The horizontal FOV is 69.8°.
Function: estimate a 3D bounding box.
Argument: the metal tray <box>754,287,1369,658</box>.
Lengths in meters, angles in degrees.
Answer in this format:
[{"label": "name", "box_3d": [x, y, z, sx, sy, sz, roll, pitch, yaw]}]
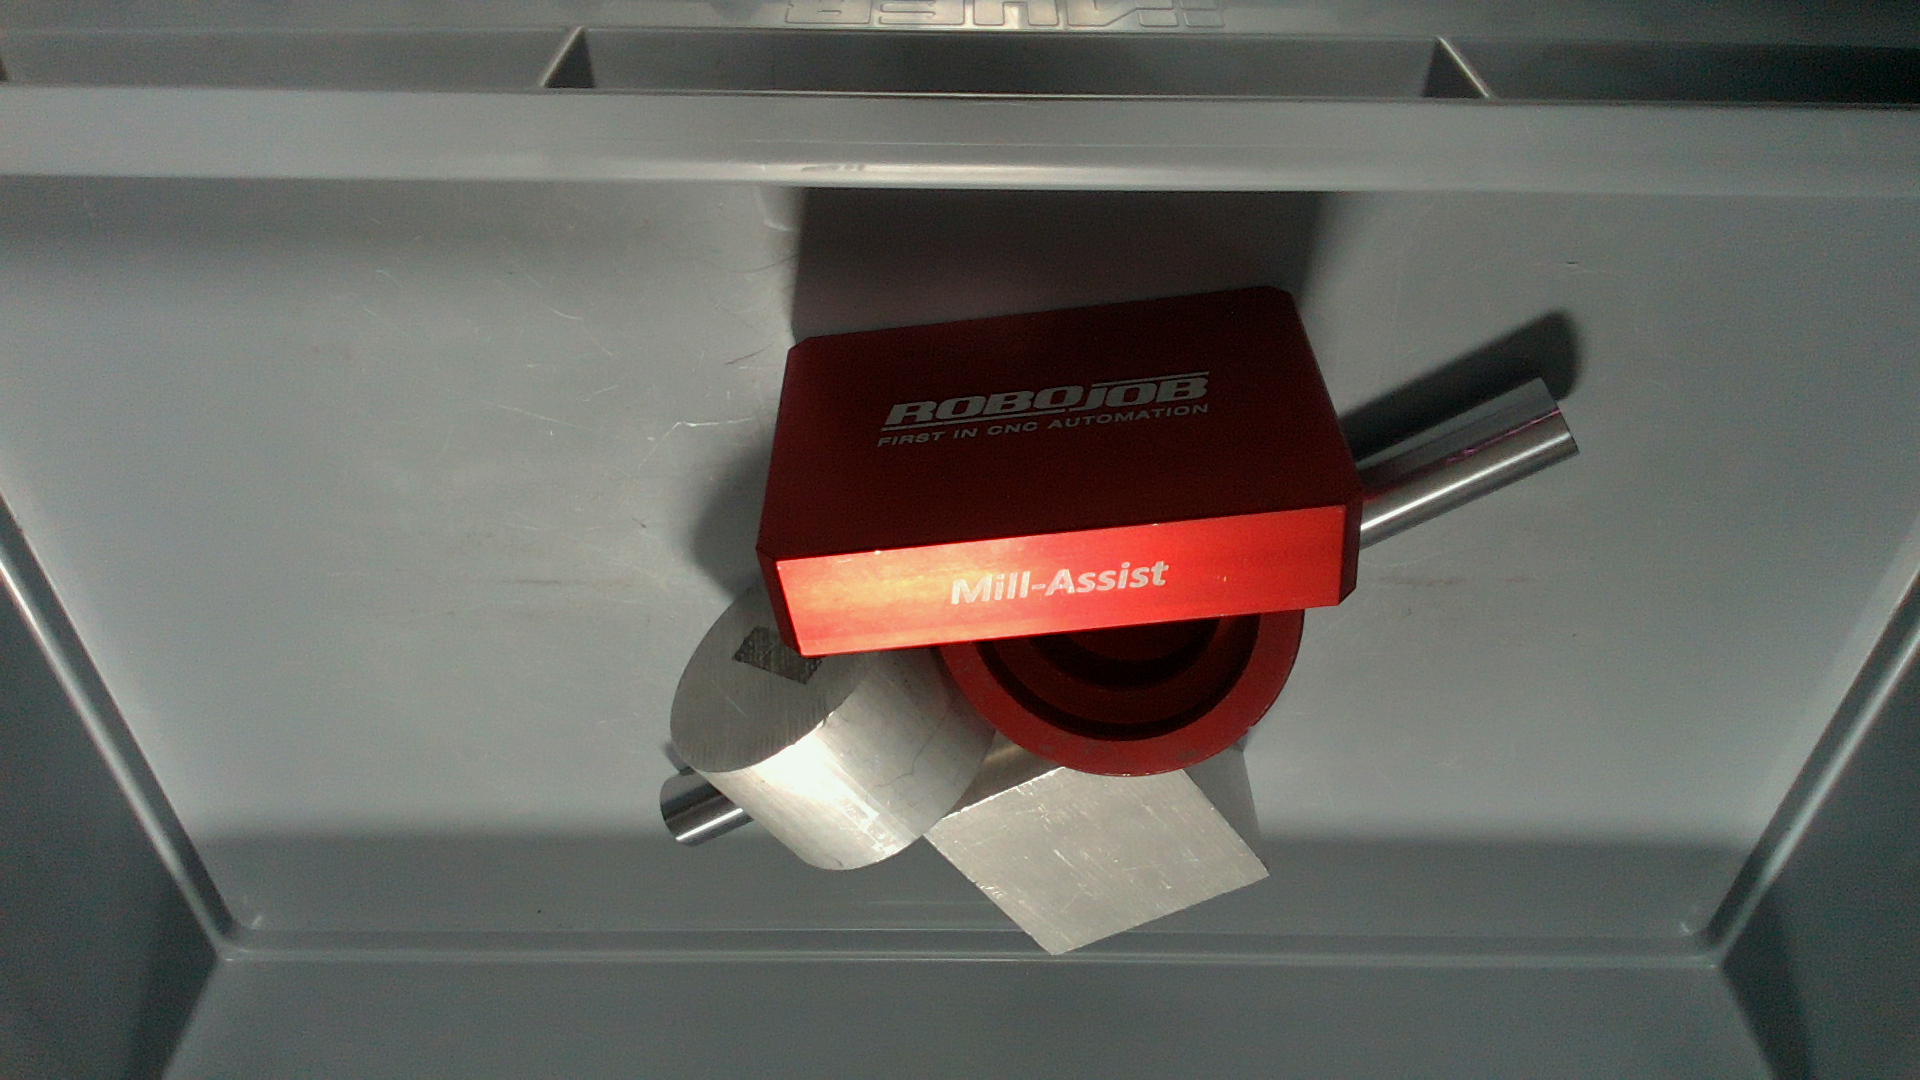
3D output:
[{"label": "metal tray", "box_3d": [0.022, -0.019, 0.329, 0.130, 0.090, 0.030, -5, 130, 4]}]

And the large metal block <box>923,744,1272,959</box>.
[{"label": "large metal block", "box_3d": [0.042, 0.080, 0.439, 0.080, 0.050, 0.080, -27, 125, 21]}]

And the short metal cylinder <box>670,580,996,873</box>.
[{"label": "short metal cylinder", "box_3d": [-0.035, 0.046, 0.392, 0.080, 0.080, 0.050, -27, 125, 21]}]

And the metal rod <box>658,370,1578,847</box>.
[{"label": "metal rod", "box_3d": [0.032, 0.029, 0.414, 0.299, 0.025, 0.025, -27, 125, 20]}]

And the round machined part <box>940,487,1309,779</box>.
[{"label": "round machined part", "box_3d": [0.044, 0.011, 0.369, 0.098, 0.042, 0.098, 4, 106, 14]}]
